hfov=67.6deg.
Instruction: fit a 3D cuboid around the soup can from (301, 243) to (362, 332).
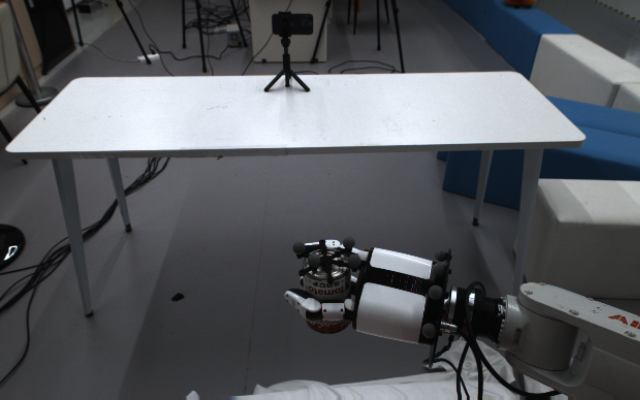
[{"bbox_3d":[0.011,0.127,0.678,0.067,0.101,0.067,-2,32,1],"label":"soup can"}]
